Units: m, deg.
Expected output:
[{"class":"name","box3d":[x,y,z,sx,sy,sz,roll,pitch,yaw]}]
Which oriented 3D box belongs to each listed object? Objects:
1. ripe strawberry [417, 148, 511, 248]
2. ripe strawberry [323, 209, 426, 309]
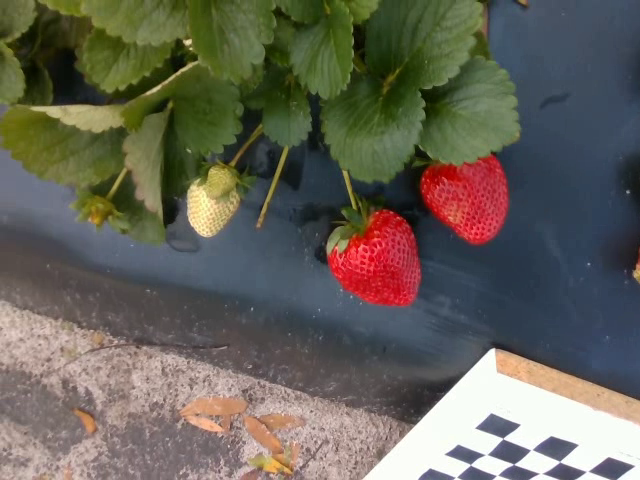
[{"class":"ripe strawberry","box3d":[0.087,-0.022,0.349,0.051,0.060,0.050,-4,-19,-45]},{"class":"ripe strawberry","box3d":[0.037,0.018,0.364,0.058,0.065,0.044,-24,18,38]}]
